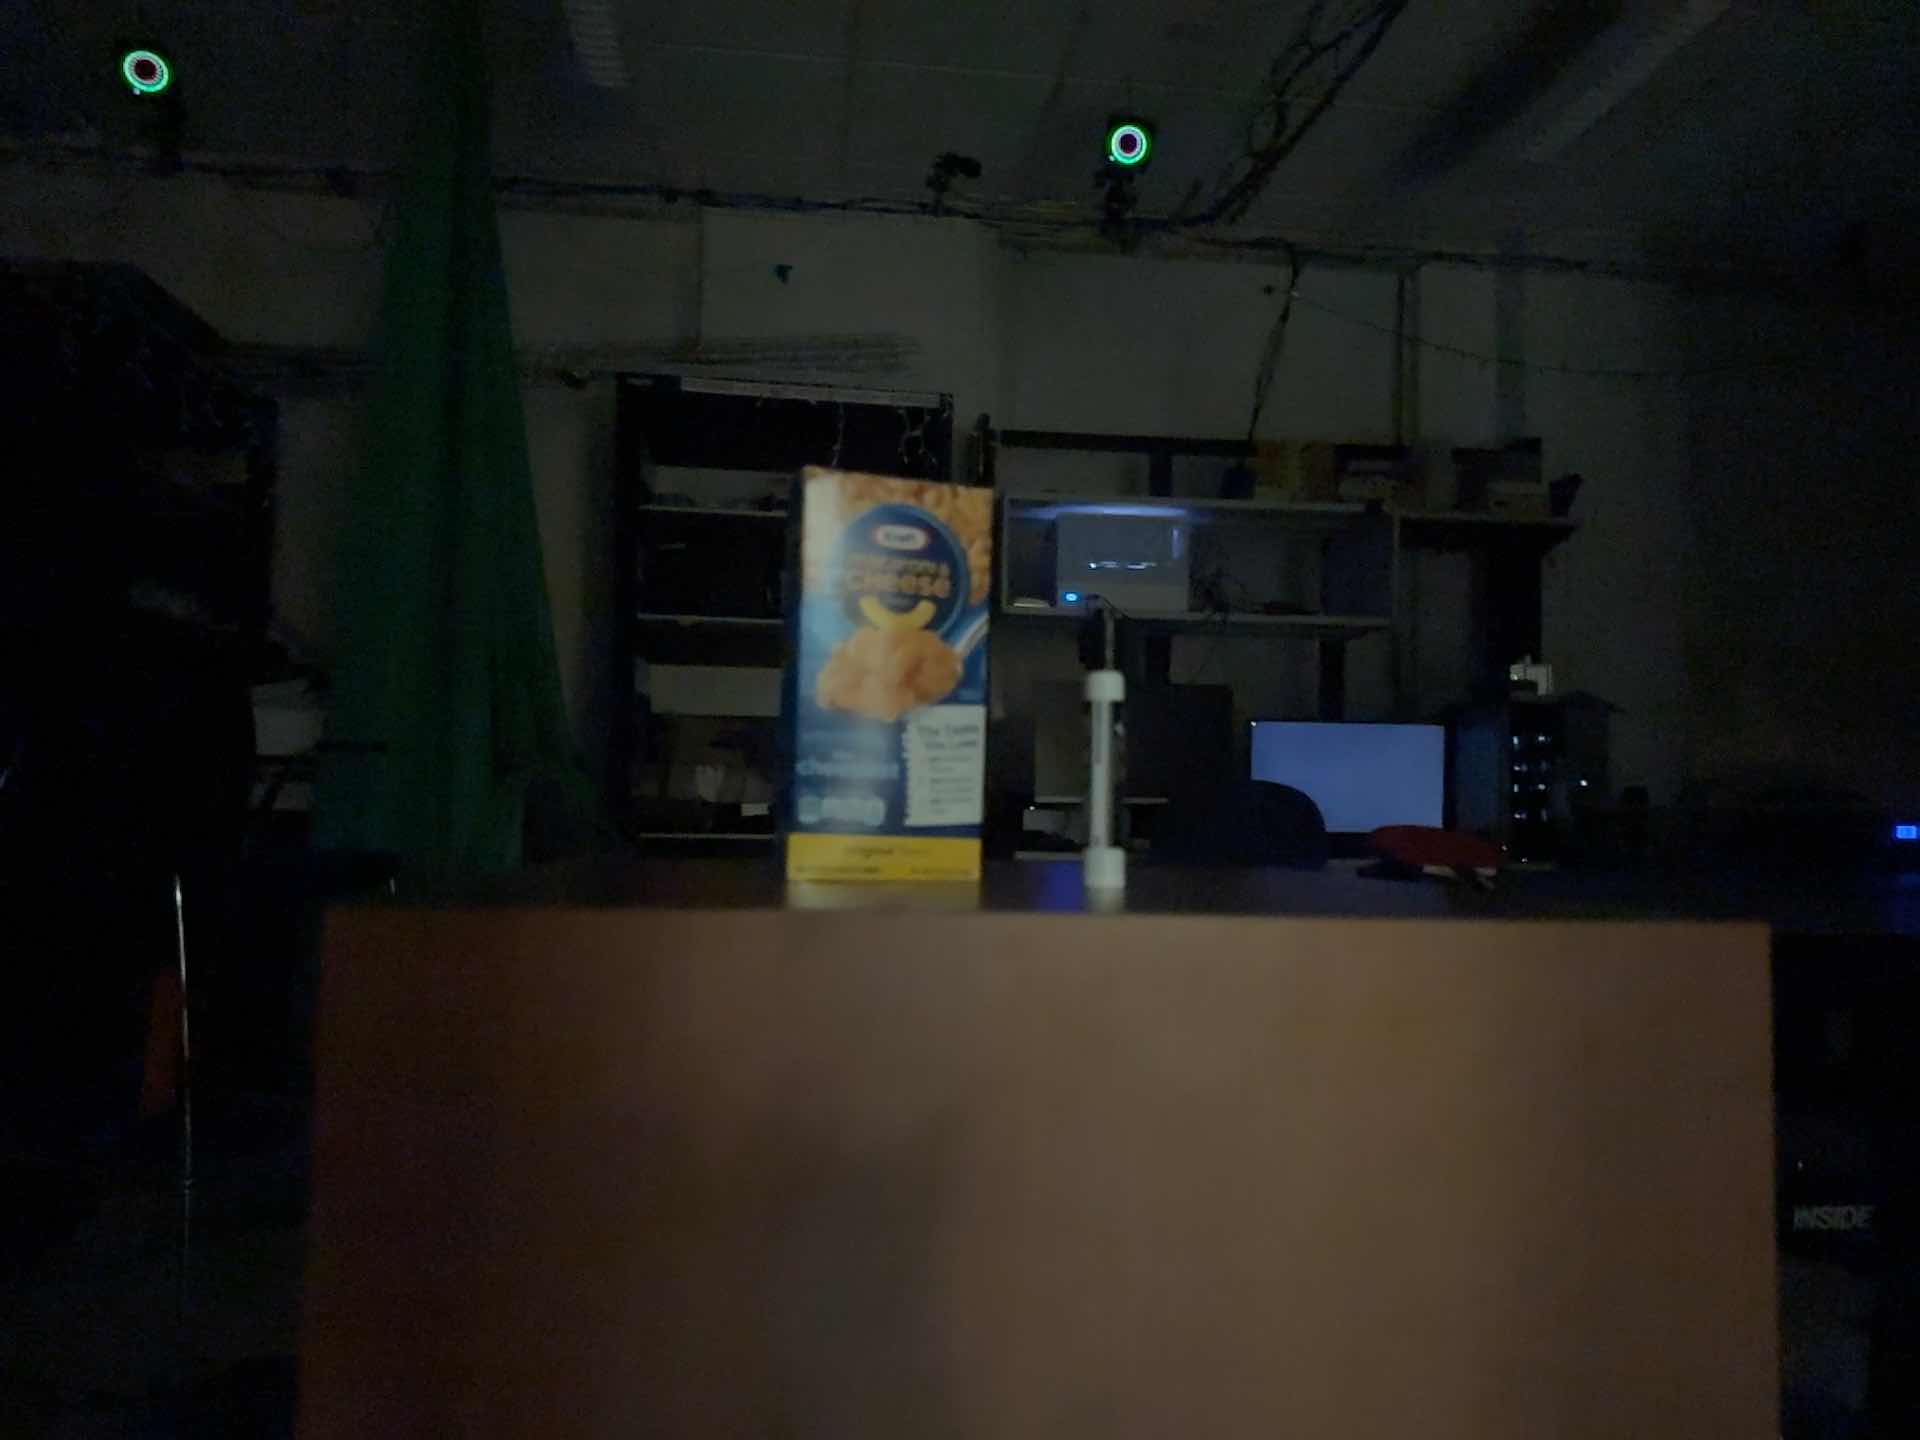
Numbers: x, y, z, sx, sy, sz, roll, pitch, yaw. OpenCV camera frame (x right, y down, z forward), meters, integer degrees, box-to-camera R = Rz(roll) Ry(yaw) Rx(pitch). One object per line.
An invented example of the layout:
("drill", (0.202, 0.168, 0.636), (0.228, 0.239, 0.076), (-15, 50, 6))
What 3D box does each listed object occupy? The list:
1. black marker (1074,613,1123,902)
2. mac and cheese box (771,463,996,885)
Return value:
("black marker", (0.059, 0.015, 0.567), (0.020, 0.121, 0.020), (1, -4, 0))
("mac and cheese box", (-0.035, -0.019, 0.608), (0.088, 0.181, 0.035), (2, -3, -13))
